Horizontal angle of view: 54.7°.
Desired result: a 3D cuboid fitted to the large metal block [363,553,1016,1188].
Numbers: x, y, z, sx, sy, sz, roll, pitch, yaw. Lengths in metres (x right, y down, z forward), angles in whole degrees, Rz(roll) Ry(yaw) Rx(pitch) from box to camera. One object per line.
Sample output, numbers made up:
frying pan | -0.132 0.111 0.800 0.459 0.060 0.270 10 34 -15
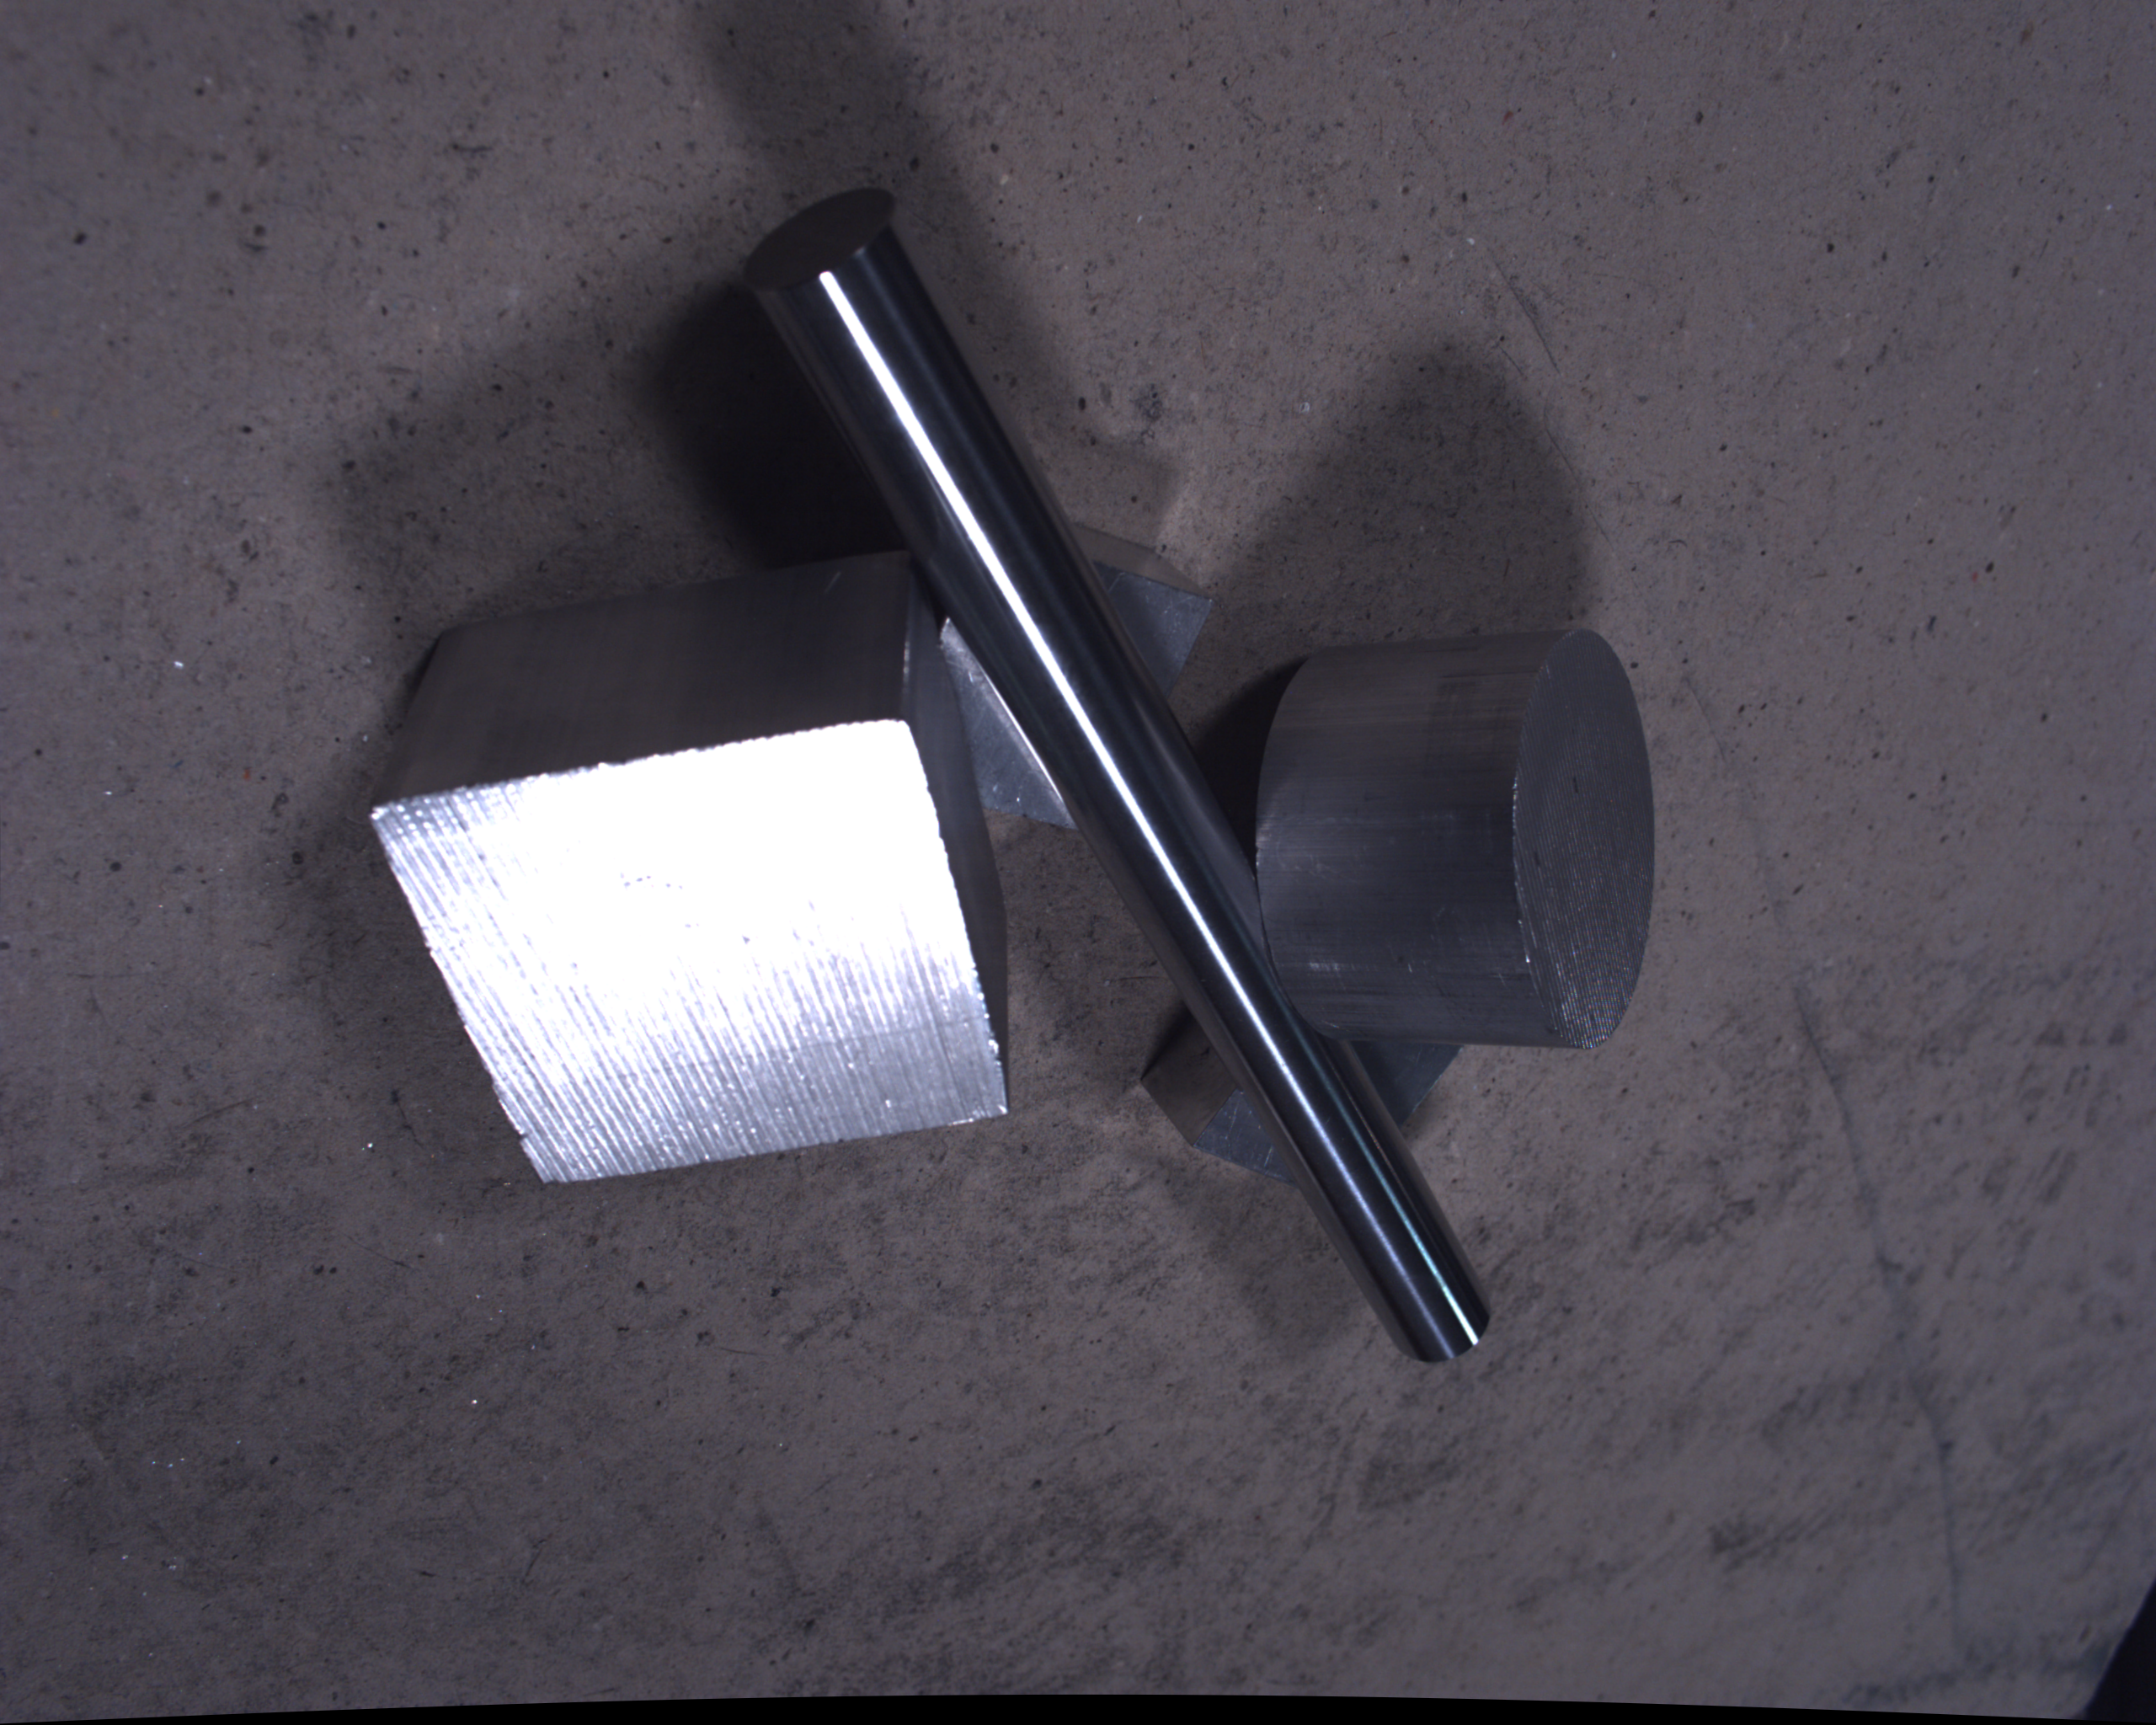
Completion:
large metal block | -0.058 0.002 0.342 0.080 0.050 0.080 -9 127 4

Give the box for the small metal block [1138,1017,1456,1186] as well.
small metal block | 0.051 0.043 0.465 0.050 0.025 0.050 27 103 -38

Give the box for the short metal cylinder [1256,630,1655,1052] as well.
short metal cylinder | 0.076 -0.004 0.407 0.080 0.050 0.079 2 87 -58

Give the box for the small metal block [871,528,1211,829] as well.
small metal block | -0.012 -0.037 0.381 0.050 0.025 0.050 13 112 -34

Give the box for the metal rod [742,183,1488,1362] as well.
metal rod | 0.023 0.008 0.396 0.025 0.025 0.299 -36 130 -5
